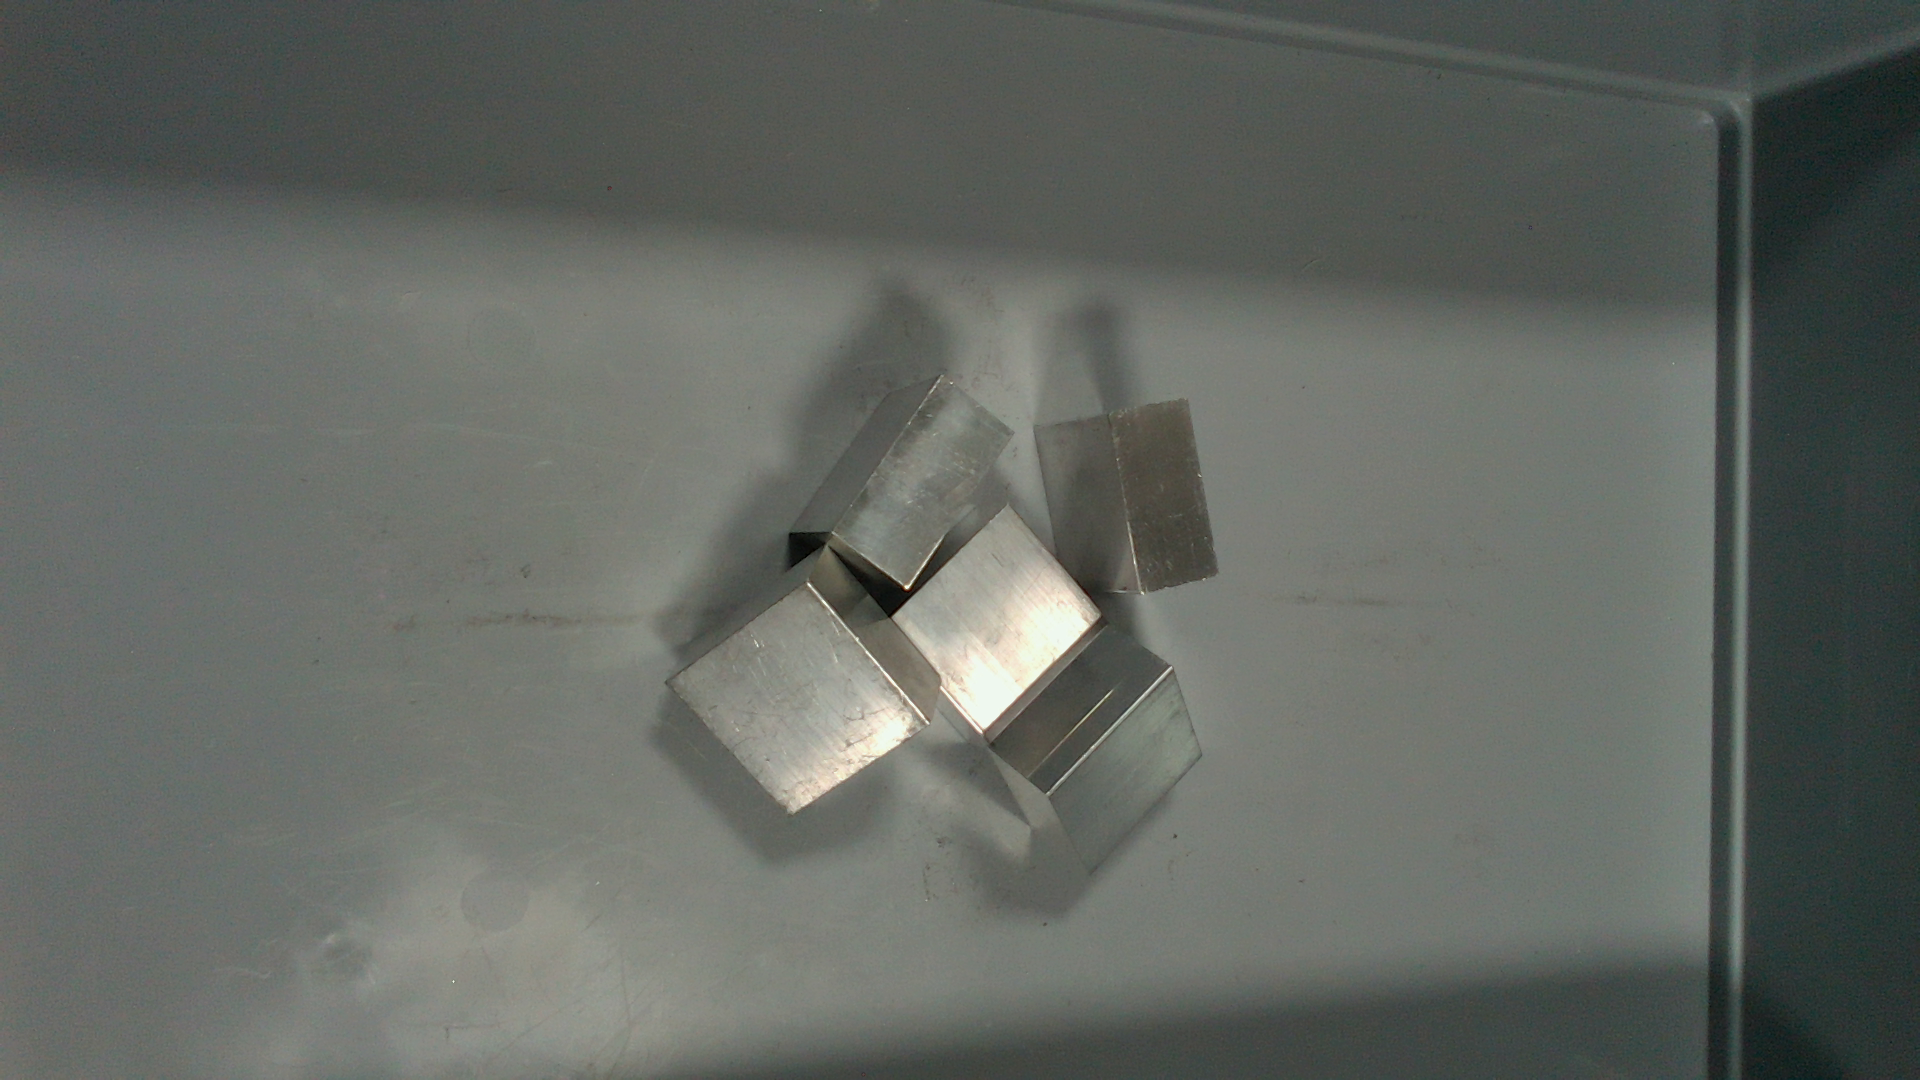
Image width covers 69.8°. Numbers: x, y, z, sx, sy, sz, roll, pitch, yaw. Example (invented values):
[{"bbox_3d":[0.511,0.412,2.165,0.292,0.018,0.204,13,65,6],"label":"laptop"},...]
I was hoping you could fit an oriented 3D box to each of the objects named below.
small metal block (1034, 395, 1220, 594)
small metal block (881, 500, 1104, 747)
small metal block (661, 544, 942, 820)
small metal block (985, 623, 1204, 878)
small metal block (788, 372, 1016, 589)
[{"bbox_3d":[0.047,-0.012,0.395,0.025,0.050,0.050,-12,94,-20],"label":"small metal block"},{"bbox_3d":[0.007,0.024,0.394,0.050,0.025,0.050,-44,104,-15],"label":"small metal block"},{"bbox_3d":[-0.041,0.038,0.365,0.050,0.025,0.050,-35,104,17],"label":"small metal block"},{"bbox_3d":[0.040,0.061,0.393,0.050,0.025,0.050,-43,140,-15],"label":"small metal block"},{"bbox_3d":[-0.017,-0.015,0.372,0.025,0.050,0.050,38,78,-16],"label":"small metal block"}]
